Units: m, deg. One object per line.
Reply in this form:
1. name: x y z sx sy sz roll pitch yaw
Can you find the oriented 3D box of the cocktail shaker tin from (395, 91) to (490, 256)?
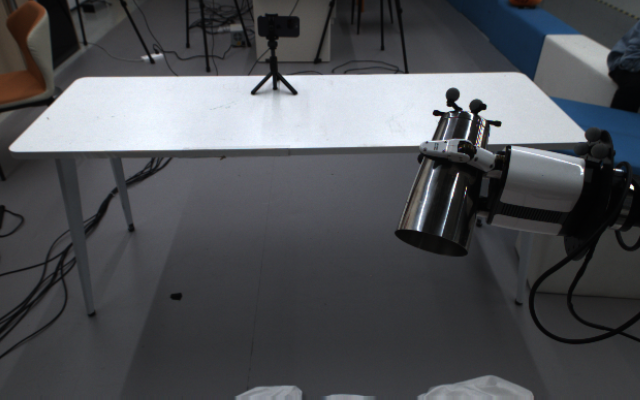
1. cocktail shaker tin: 0.164 -0.024 0.616 0.093 0.093 0.170 15 75 18
